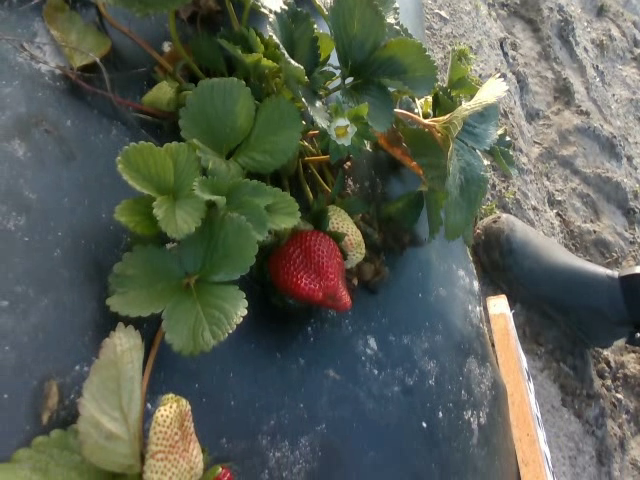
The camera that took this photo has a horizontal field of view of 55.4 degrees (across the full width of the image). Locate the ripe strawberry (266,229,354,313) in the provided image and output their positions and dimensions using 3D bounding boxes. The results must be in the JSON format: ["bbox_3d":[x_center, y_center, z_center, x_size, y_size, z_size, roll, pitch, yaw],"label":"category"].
[{"bbox_3d":[-0.002,0.024,0.384,0.057,0.058,0.071,-26,27,-5],"label":"ripe strawberry"}]
